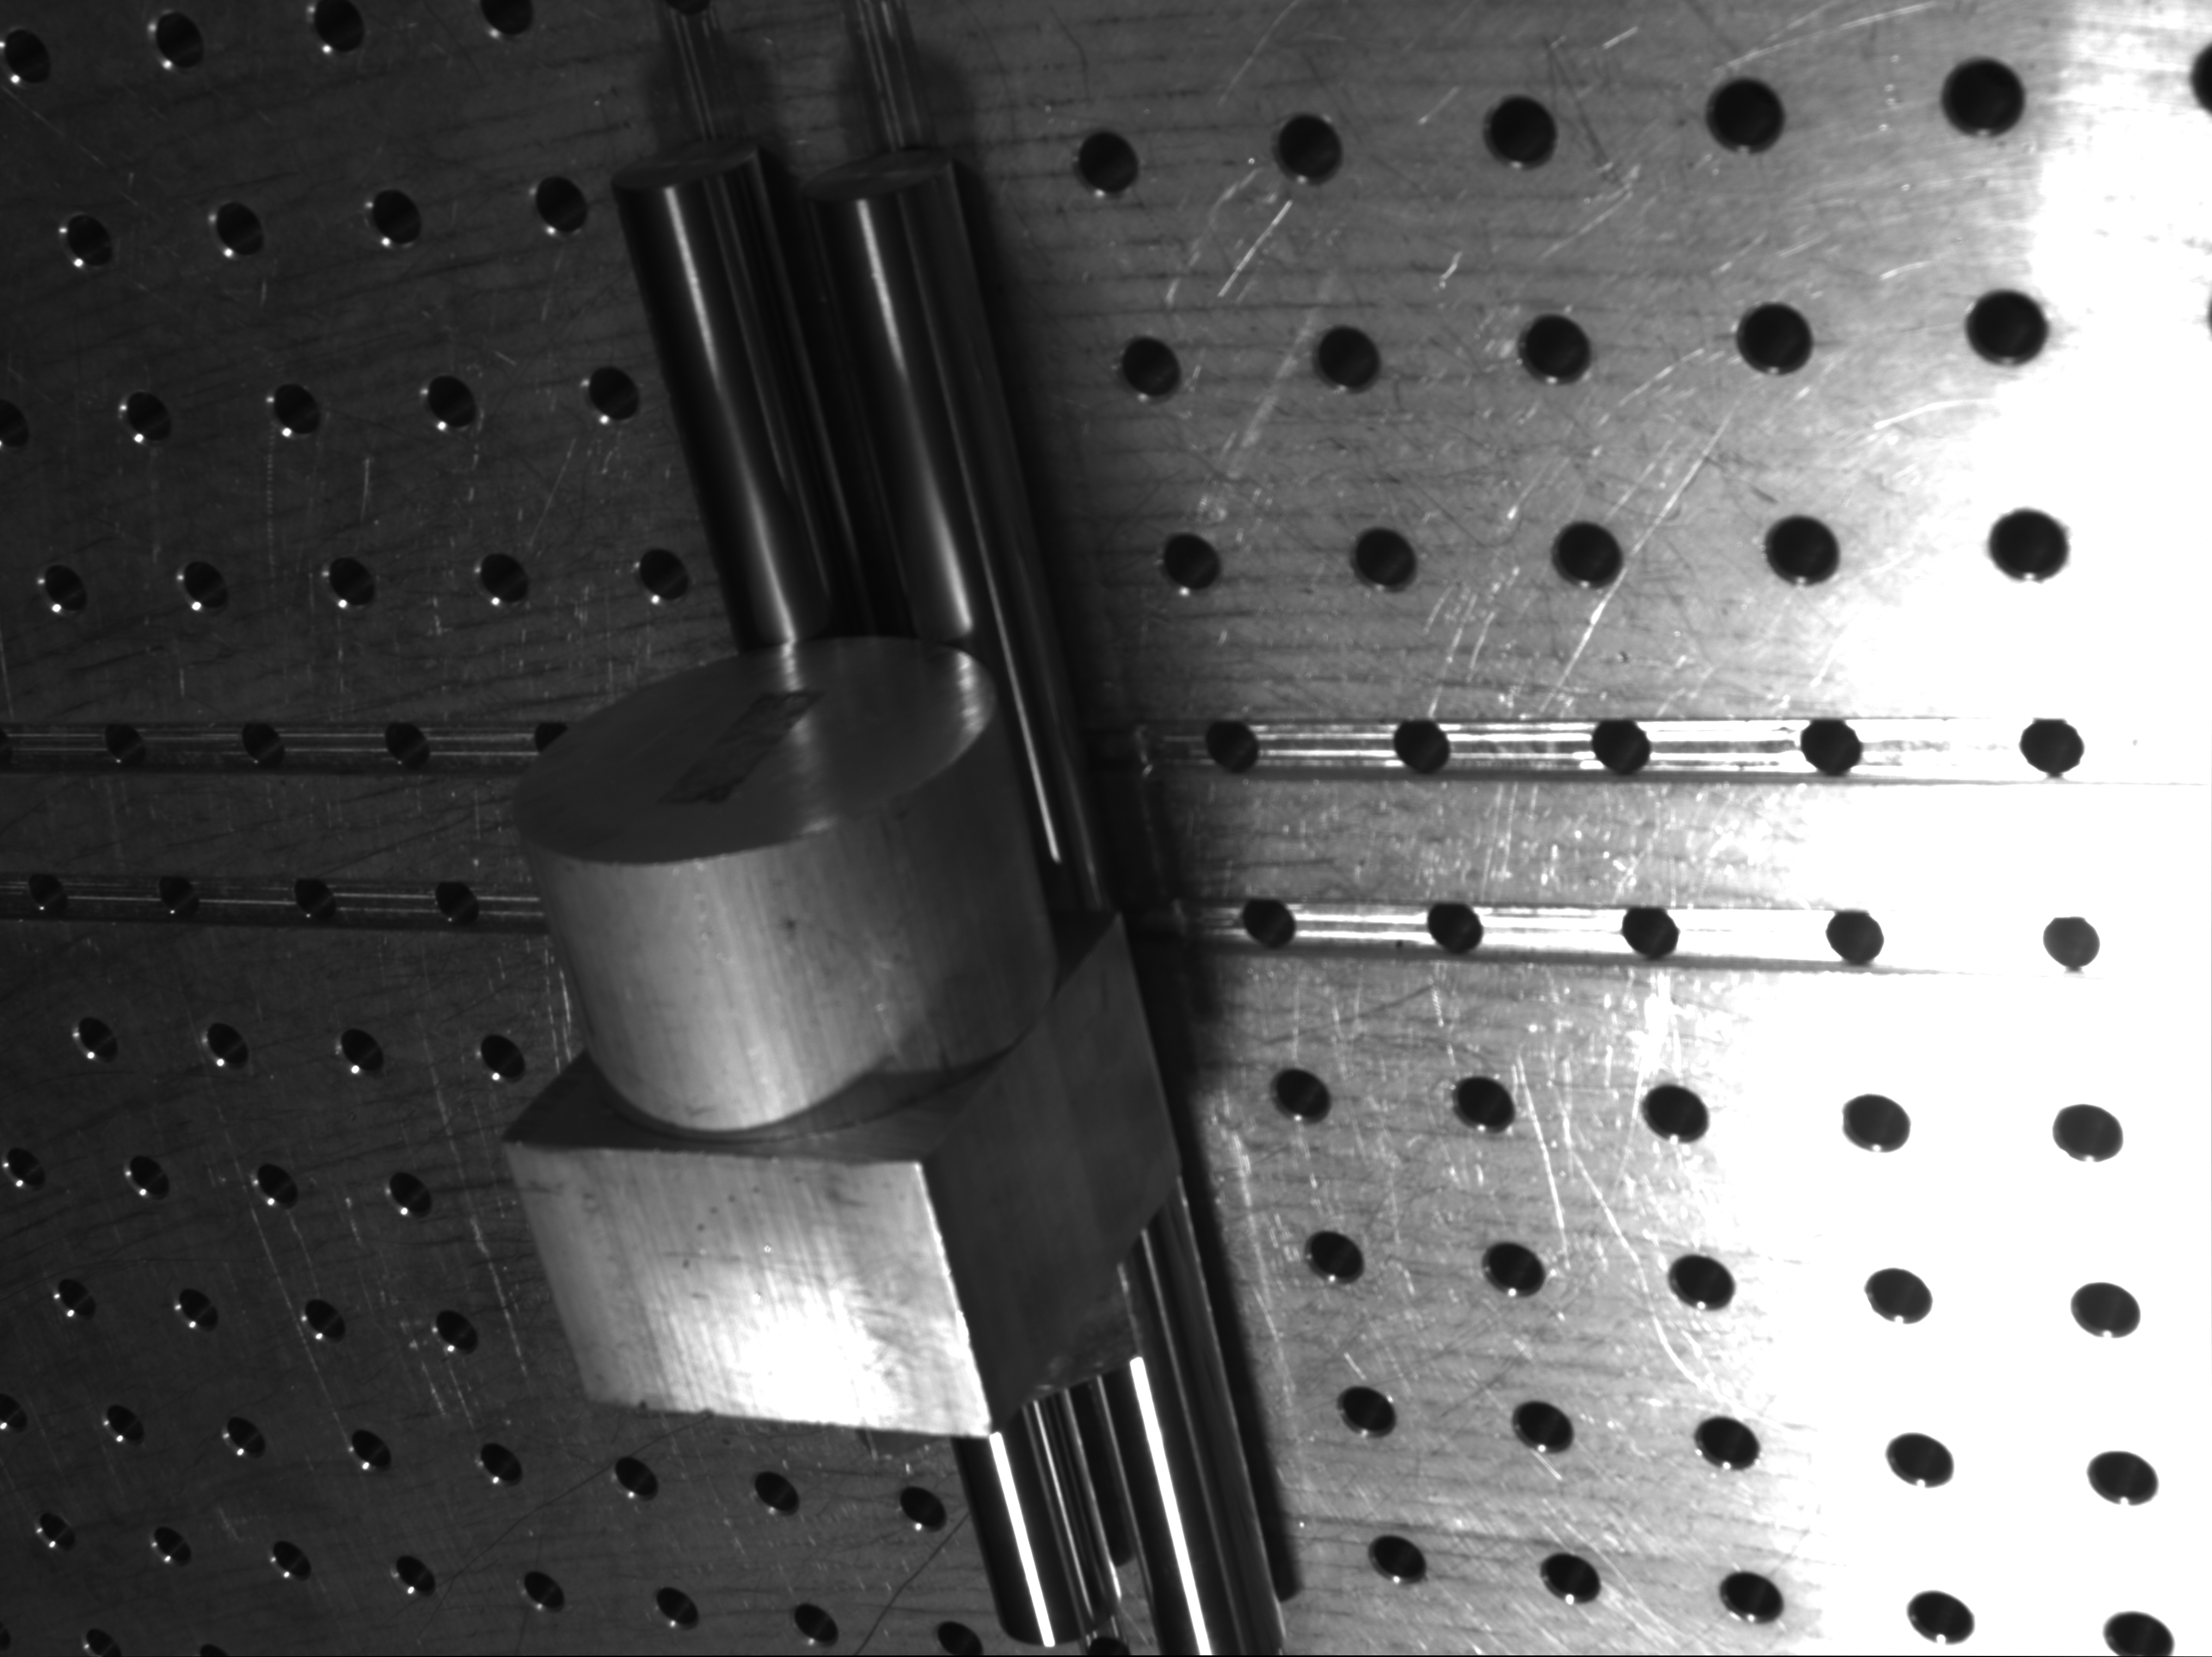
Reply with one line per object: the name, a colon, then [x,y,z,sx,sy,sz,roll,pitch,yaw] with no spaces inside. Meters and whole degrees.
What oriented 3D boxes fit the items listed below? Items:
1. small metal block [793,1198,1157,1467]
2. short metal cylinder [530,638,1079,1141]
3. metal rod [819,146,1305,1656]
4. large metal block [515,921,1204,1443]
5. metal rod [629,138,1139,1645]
small metal block: [-0.025,0.082,0.651,0.050,0.050,0.025,-19,116,-14]
short metal cylinder: [-0.049,0.009,0.602,0.080,0.080,0.050,1,118,26]
metal rod: [-0.004,0.027,0.653,0.025,0.025,0.300,1,119,26]
large metal block: [-0.040,0.057,0.621,0.080,0.080,0.050,0,118,27]
metal rod: [-0.036,0.023,0.667,0.025,0.025,0.300,1,119,26]
